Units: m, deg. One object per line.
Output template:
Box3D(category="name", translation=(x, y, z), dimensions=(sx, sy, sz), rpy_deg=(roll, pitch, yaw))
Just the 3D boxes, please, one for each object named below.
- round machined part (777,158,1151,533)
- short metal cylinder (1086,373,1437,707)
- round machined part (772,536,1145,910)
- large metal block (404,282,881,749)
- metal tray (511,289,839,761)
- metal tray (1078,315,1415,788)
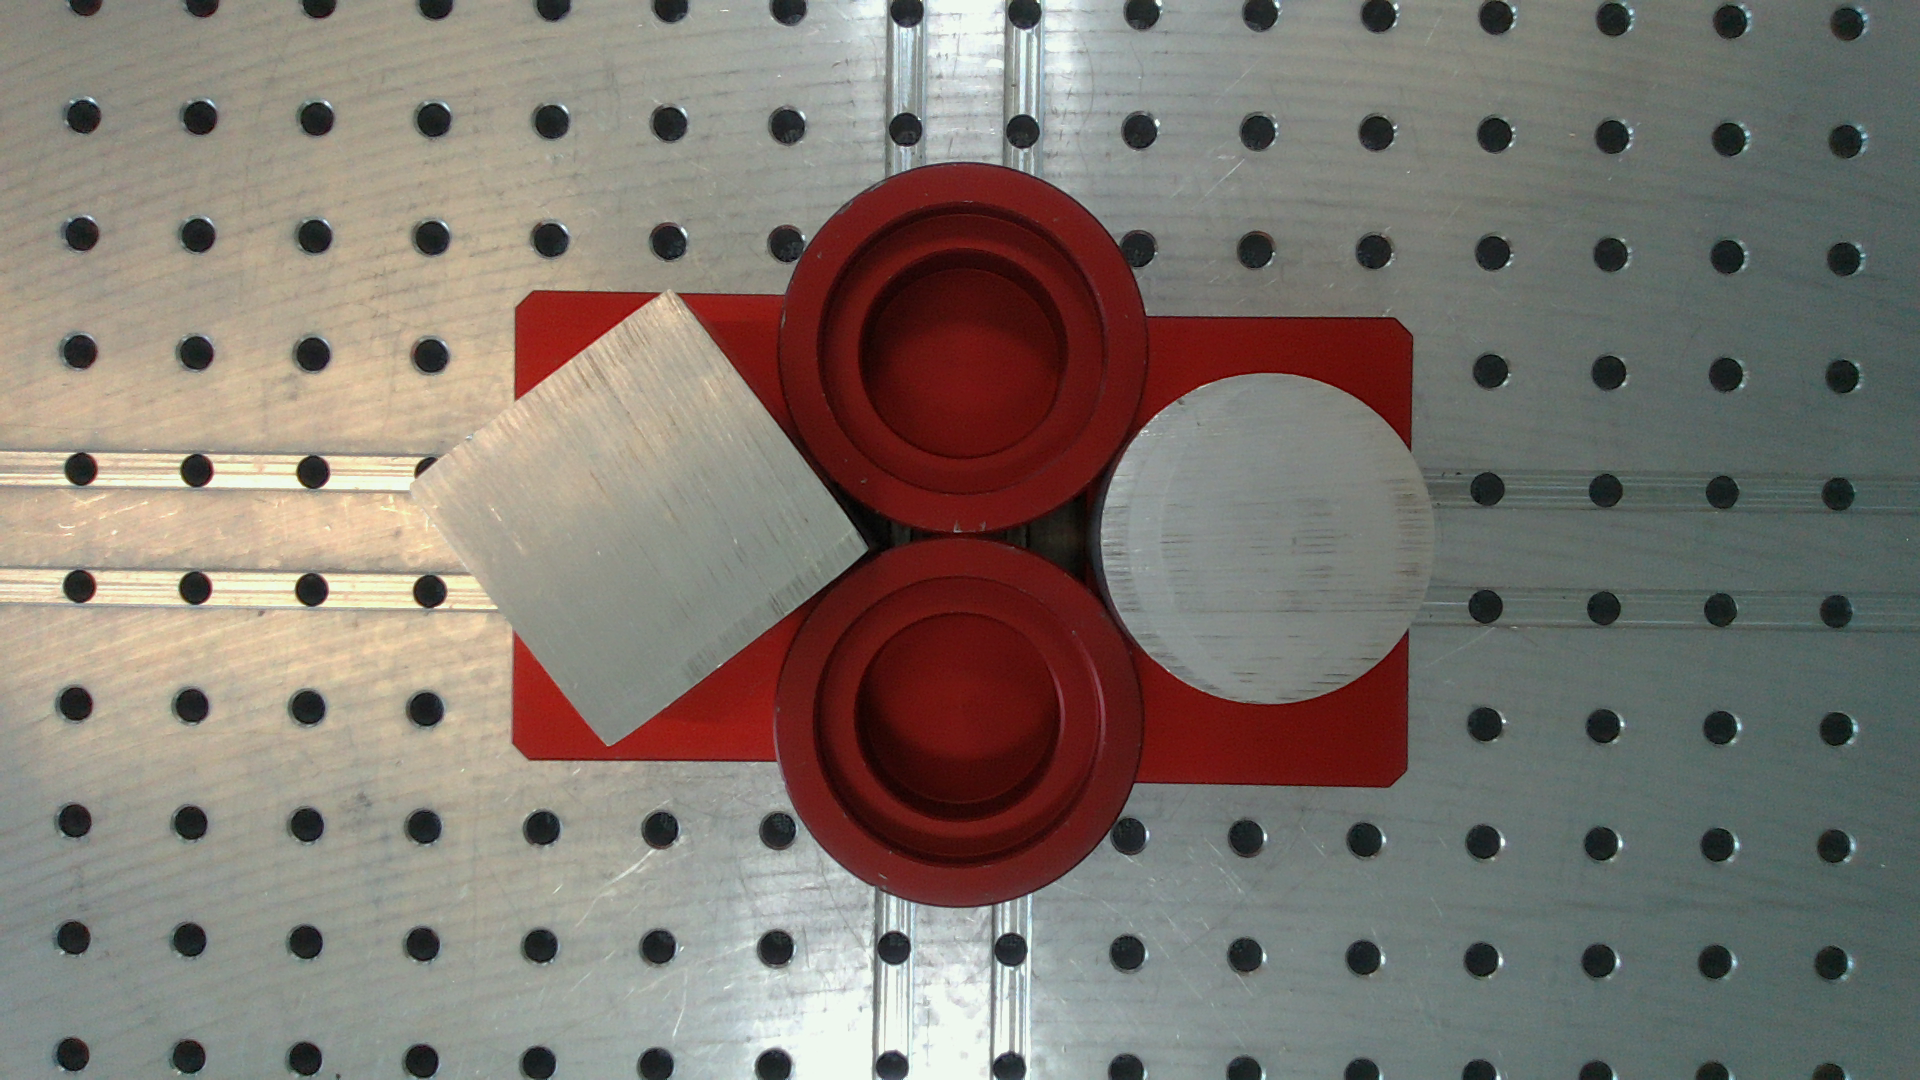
Box3D(category="round machined part", translation=(0.001, -0.051, 0.380), dimensions=(0.098, 0.042, 0.098), rpy_deg=(0, 90, 0))
Box3D(category="short metal cylinder", translation=(0.074, 0.000, 0.355), dimensions=(0.080, 0.050, 0.080), rpy_deg=(0, 90, 0))
Box3D(category="round machined part", translation=(0.000, 0.048, 0.380), dimensions=(0.098, 0.042, 0.098), rpy_deg=(0, 90, 0))
Box3D(category="large metal block", translation=(-0.077, -0.006, 0.354), dimensions=(0.080, 0.050, 0.080), rpy_deg=(-37, 90, 0))
Box3D(category="metal tray", translation=(-0.079, -0.004, 0.394), dimensions=(0.090, 0.030, 0.130), rpy_deg=(0, 90, -1))
Box3D(category="metal tray", translation=(0.080, 0.003, 0.393), dimensions=(0.090, 0.030, 0.130), rpy_deg=(1, 90, 0))
